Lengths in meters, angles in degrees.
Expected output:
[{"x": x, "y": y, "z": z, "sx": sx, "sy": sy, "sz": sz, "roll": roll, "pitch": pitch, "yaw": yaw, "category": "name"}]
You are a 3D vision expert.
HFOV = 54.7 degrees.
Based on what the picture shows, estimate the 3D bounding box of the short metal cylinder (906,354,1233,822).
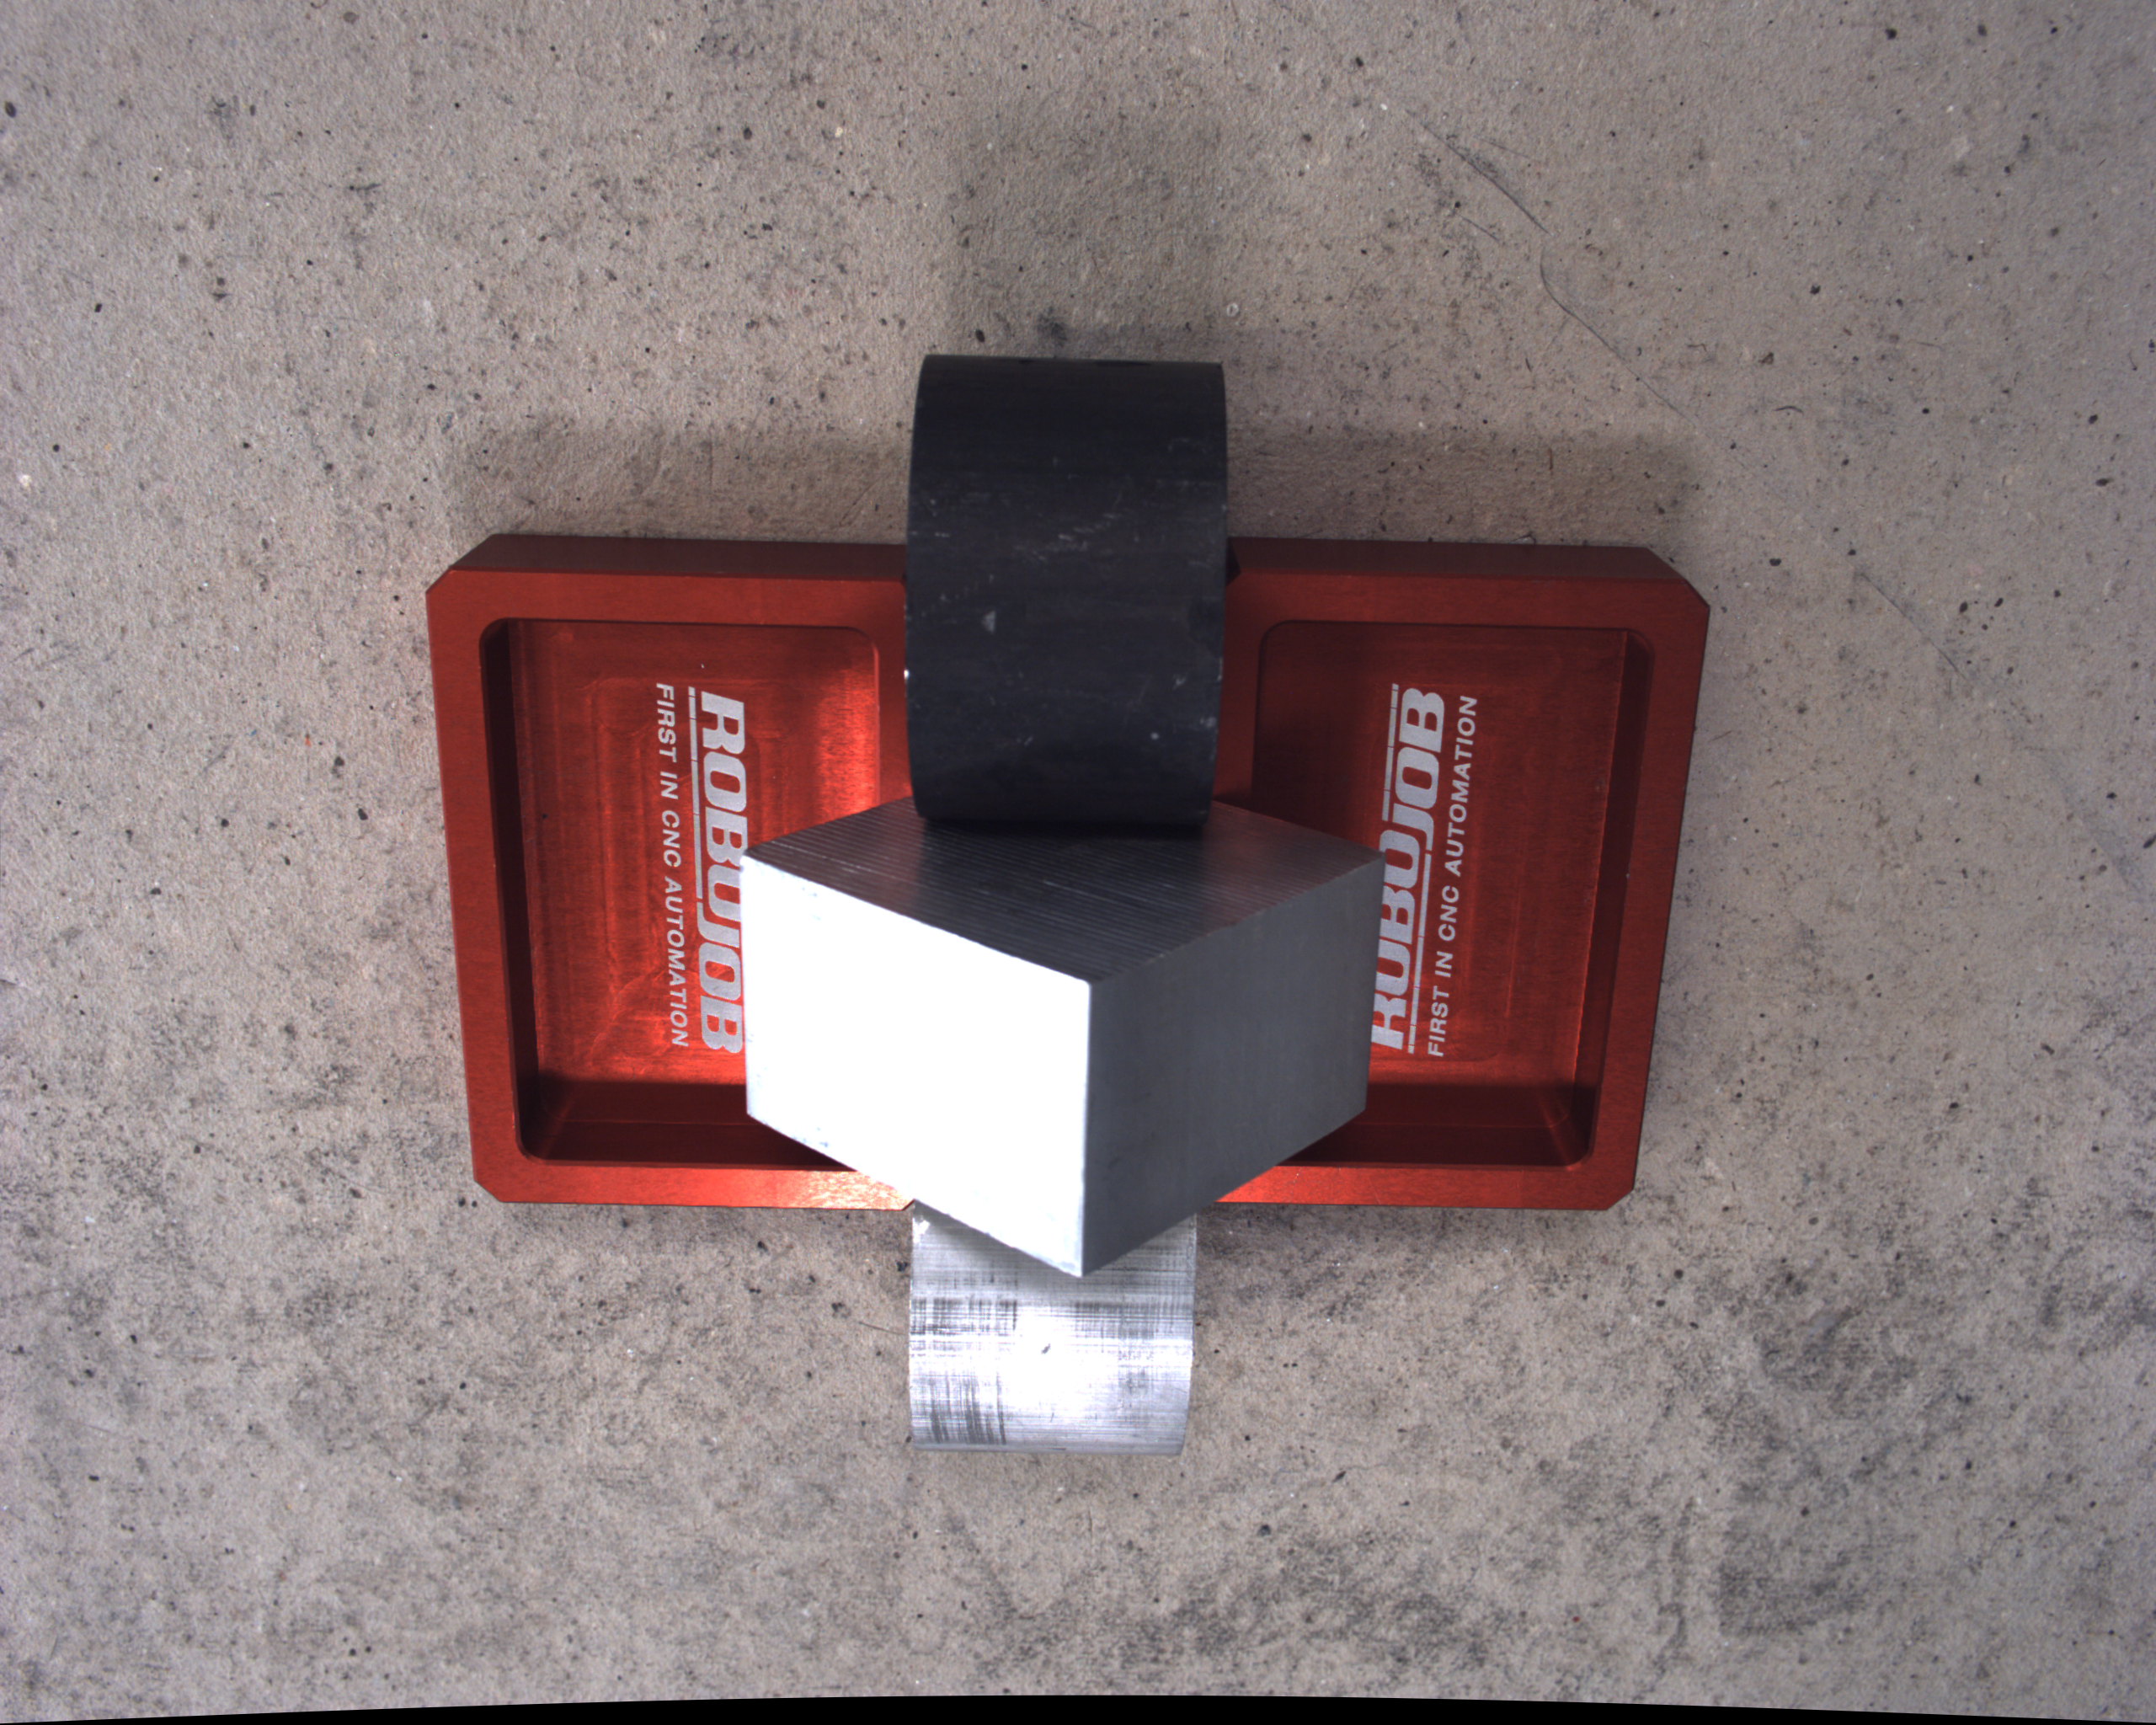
[{"x": -0.002, "y": -0.047, "z": 0.364, "sx": 0.050, "sy": 0.080, "sz": 0.079, "roll": 2, "pitch": 110, "yaw": -1, "category": "short metal cylinder"}]

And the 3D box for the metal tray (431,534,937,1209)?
[{"x": -0.073, "y": 0.003, "z": 0.409, "sx": 0.091, "sy": 0.030, "sz": 0.129, "roll": 1, "pitch": 110, "yaw": -1, "category": "metal tray"}]

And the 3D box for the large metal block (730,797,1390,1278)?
[{"x": -0.003, "y": 0.021, "z": 0.367, "sx": 0.080, "sy": 0.081, "sz": 0.050, "roll": 18, "pitch": 116, "yaw": 36, "category": "large metal block"}]

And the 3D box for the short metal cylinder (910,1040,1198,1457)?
[{"x": -0.005, "y": 0.075, "z": 0.409, "sx": 0.050, "sy": 0.080, "sz": 0.079, "roll": 2, "pitch": 110, "yaw": -1, "category": "short metal cylinder"}]

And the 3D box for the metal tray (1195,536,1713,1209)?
[{"x": 0.068, "y": 0.004, "z": 0.411, "sx": 0.091, "sy": 0.030, "sz": 0.129, "roll": 1, "pitch": 110, "yaw": -1, "category": "metal tray"}]
